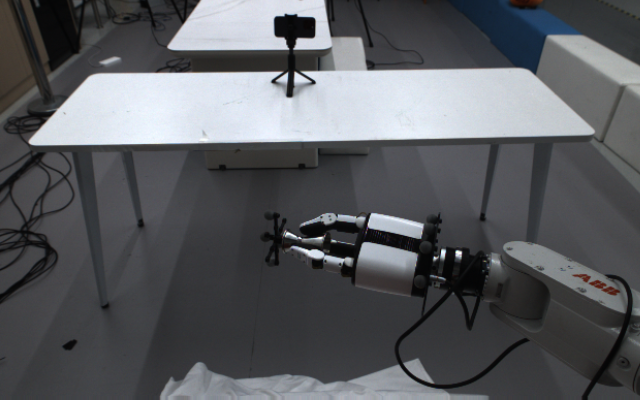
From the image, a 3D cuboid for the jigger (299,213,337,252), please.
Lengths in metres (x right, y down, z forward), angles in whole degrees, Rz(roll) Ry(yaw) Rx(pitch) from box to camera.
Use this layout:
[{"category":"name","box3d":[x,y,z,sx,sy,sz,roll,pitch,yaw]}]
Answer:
[{"category":"jigger","box3d":[-0.015,0.065,0.757,0.071,0.043,0.043,6,34,17]}]
